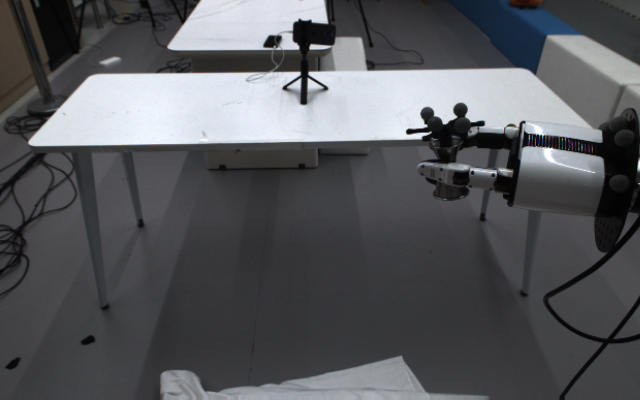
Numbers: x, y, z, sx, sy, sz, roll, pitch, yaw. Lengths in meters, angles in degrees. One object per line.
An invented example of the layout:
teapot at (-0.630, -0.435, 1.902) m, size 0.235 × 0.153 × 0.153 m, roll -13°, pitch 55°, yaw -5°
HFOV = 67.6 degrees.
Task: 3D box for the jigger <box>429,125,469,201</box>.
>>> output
jigger at (0.158, -0.041, 0.595) m, size 0.043 × 0.071 × 0.043 m, roll -11°, pitch 23°, yaw 5°
